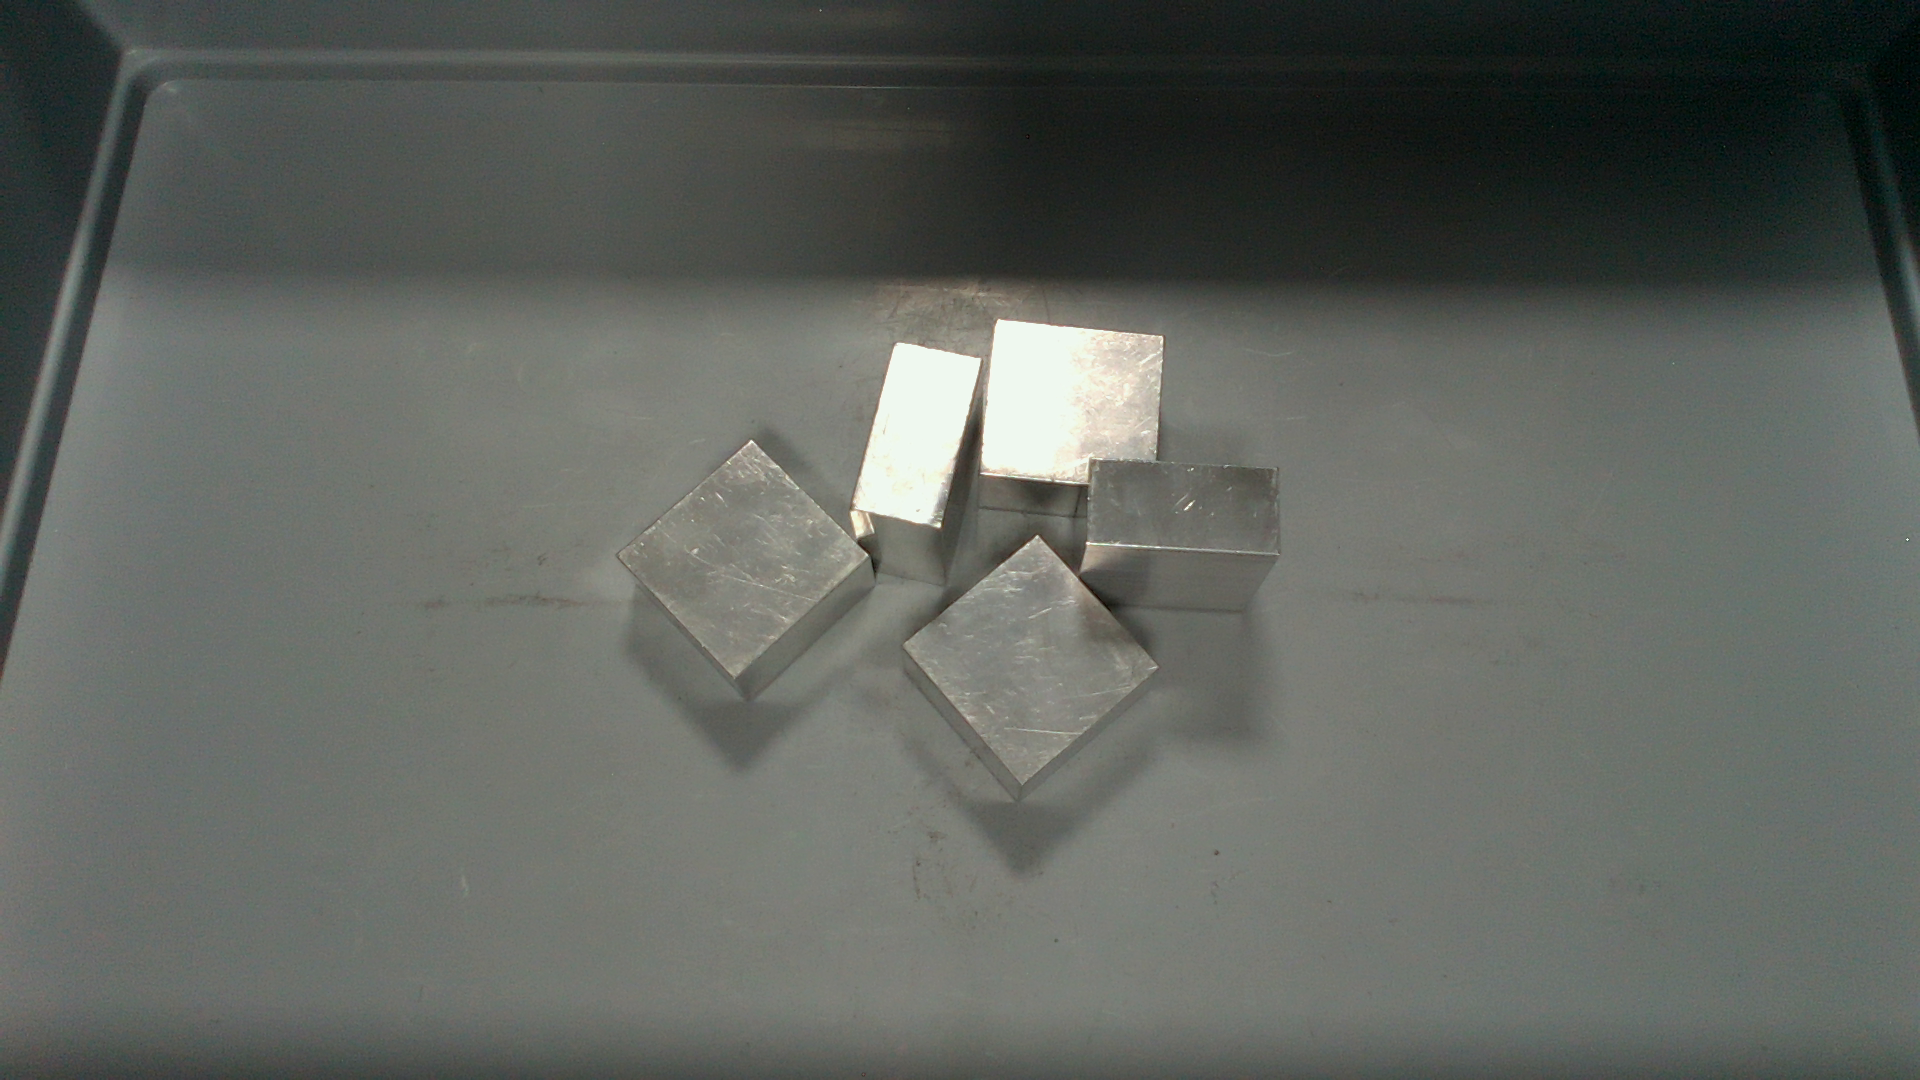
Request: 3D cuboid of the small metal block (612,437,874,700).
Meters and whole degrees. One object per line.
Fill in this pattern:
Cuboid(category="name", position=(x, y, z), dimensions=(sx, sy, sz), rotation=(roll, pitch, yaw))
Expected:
Cuboid(category="small metal block", position=(-0.060, 0.008, 0.390), dimensions=(0.050, 0.025, 0.050), rotation=(-43, 76, -14))

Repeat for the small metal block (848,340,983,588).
Cuboid(category="small metal block", position=(-0.011, -0.020, 0.387), dimensions=(0.025, 0.050, 0.050), rotation=(12, 70, 4))

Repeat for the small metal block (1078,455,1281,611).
Cuboid(category="small metal block", position=(0.058, -0.001, 0.380), dimensions=(0.050, 0.050, 0.025), rotation=(3, 70, 1))

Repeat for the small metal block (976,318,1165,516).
Cuboid(category="small metal block", position=(0.032, -0.035, 0.406), dimensions=(0.050, 0.025, 0.050), rotation=(6, 70, 2))

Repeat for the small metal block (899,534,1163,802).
Cuboid(category="small metal block", position=(0.019, 0.036, 0.380), dimensions=(0.050, 0.025, 0.050), rotation=(-39, 75, -13))
